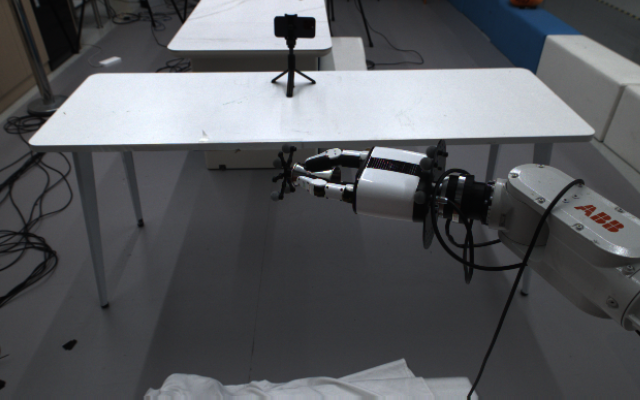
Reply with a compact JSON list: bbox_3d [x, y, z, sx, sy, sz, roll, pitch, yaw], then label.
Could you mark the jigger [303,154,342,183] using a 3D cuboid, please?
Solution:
[{"bbox_3d":[-0.001,-0.038,0.757,0.071,0.043,0.043,10,35,22],"label":"jigger"}]
